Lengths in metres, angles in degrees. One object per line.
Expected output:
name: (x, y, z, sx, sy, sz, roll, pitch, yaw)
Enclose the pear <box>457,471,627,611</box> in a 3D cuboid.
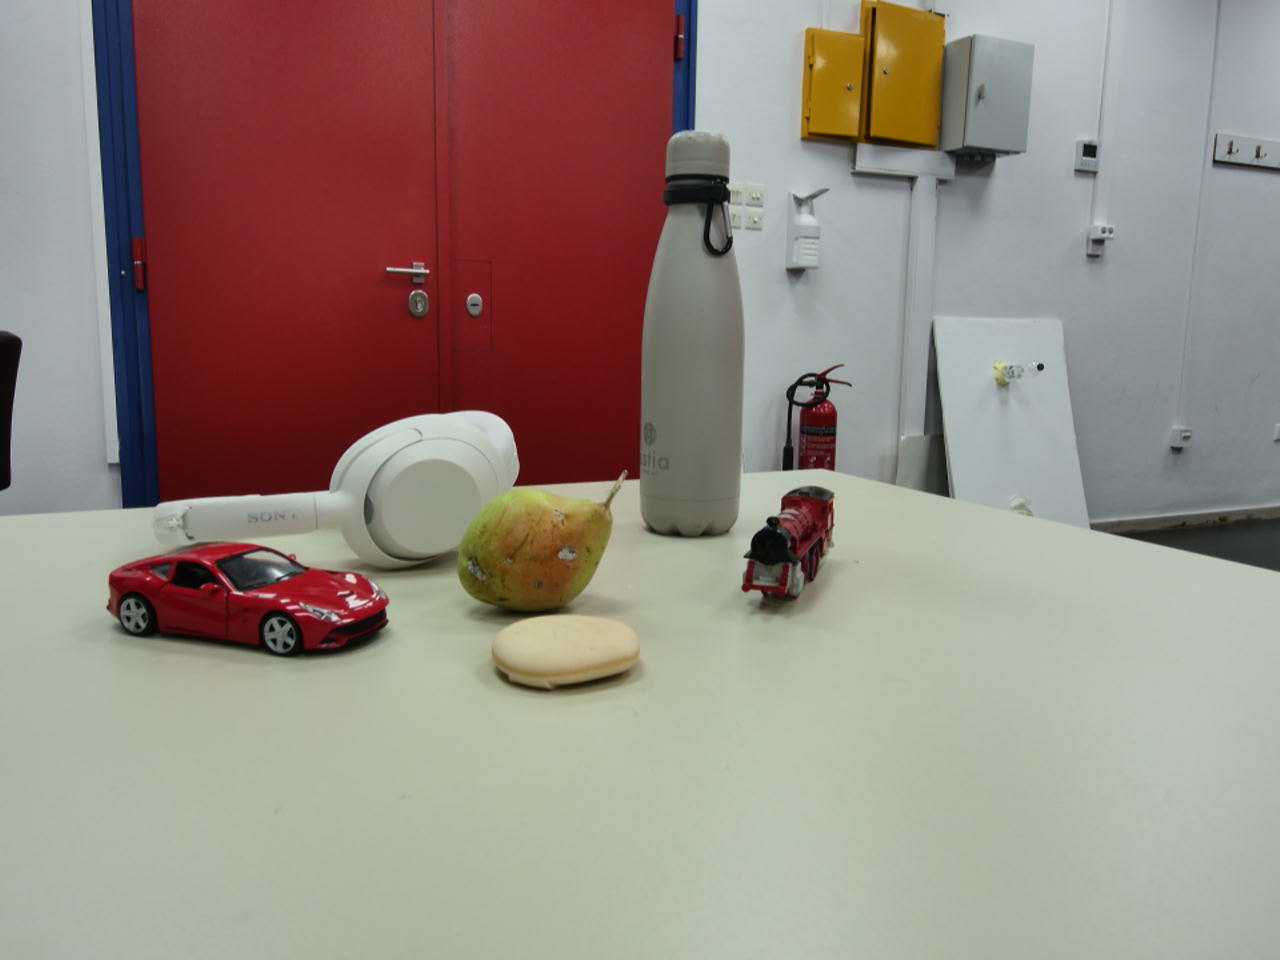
pear: (-0.052, 0.031, 0.506, 0.070, 0.069, 0.068, 3, 7, 26)
